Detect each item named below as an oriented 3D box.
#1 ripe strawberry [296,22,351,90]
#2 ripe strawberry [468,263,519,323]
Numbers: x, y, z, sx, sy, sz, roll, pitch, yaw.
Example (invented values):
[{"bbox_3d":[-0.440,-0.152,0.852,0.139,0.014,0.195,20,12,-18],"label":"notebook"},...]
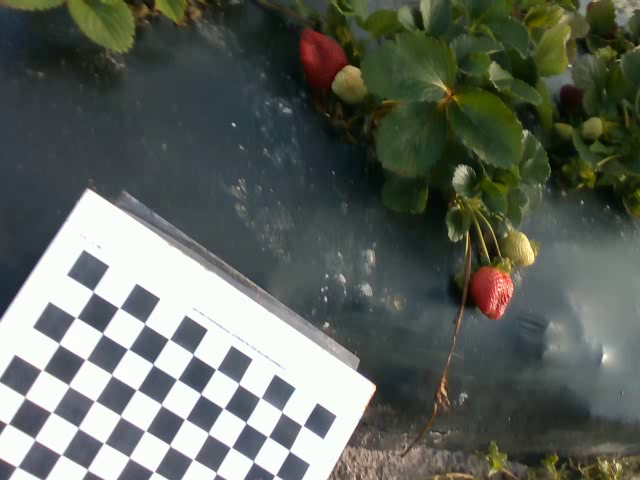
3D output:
[{"bbox_3d":[-0.003,-0.187,0.742,0.057,0.058,0.071,23,-25,48],"label":"ripe strawberry"},{"bbox_3d":[0.173,0.051,0.699,0.047,0.050,0.034,14,-12,-20],"label":"ripe strawberry"}]
